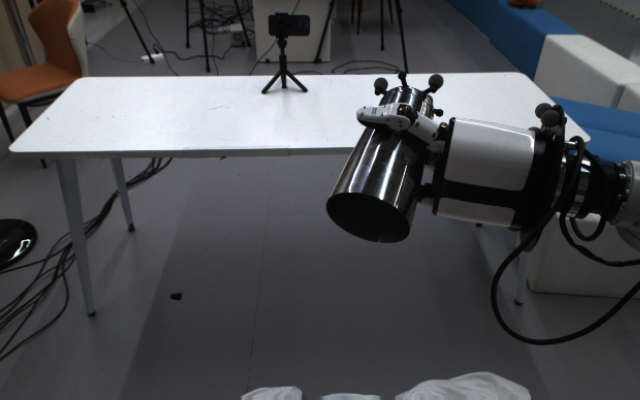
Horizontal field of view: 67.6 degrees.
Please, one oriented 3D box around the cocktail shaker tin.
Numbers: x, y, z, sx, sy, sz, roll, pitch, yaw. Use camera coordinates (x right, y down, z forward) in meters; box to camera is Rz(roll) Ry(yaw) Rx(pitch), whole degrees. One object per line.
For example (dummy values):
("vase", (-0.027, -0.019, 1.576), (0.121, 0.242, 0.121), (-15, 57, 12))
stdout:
("cocktail shaker tin", (0.078, -0.047, 0.548), (0.093, 0.093, 0.170), (14, 59, 16))
